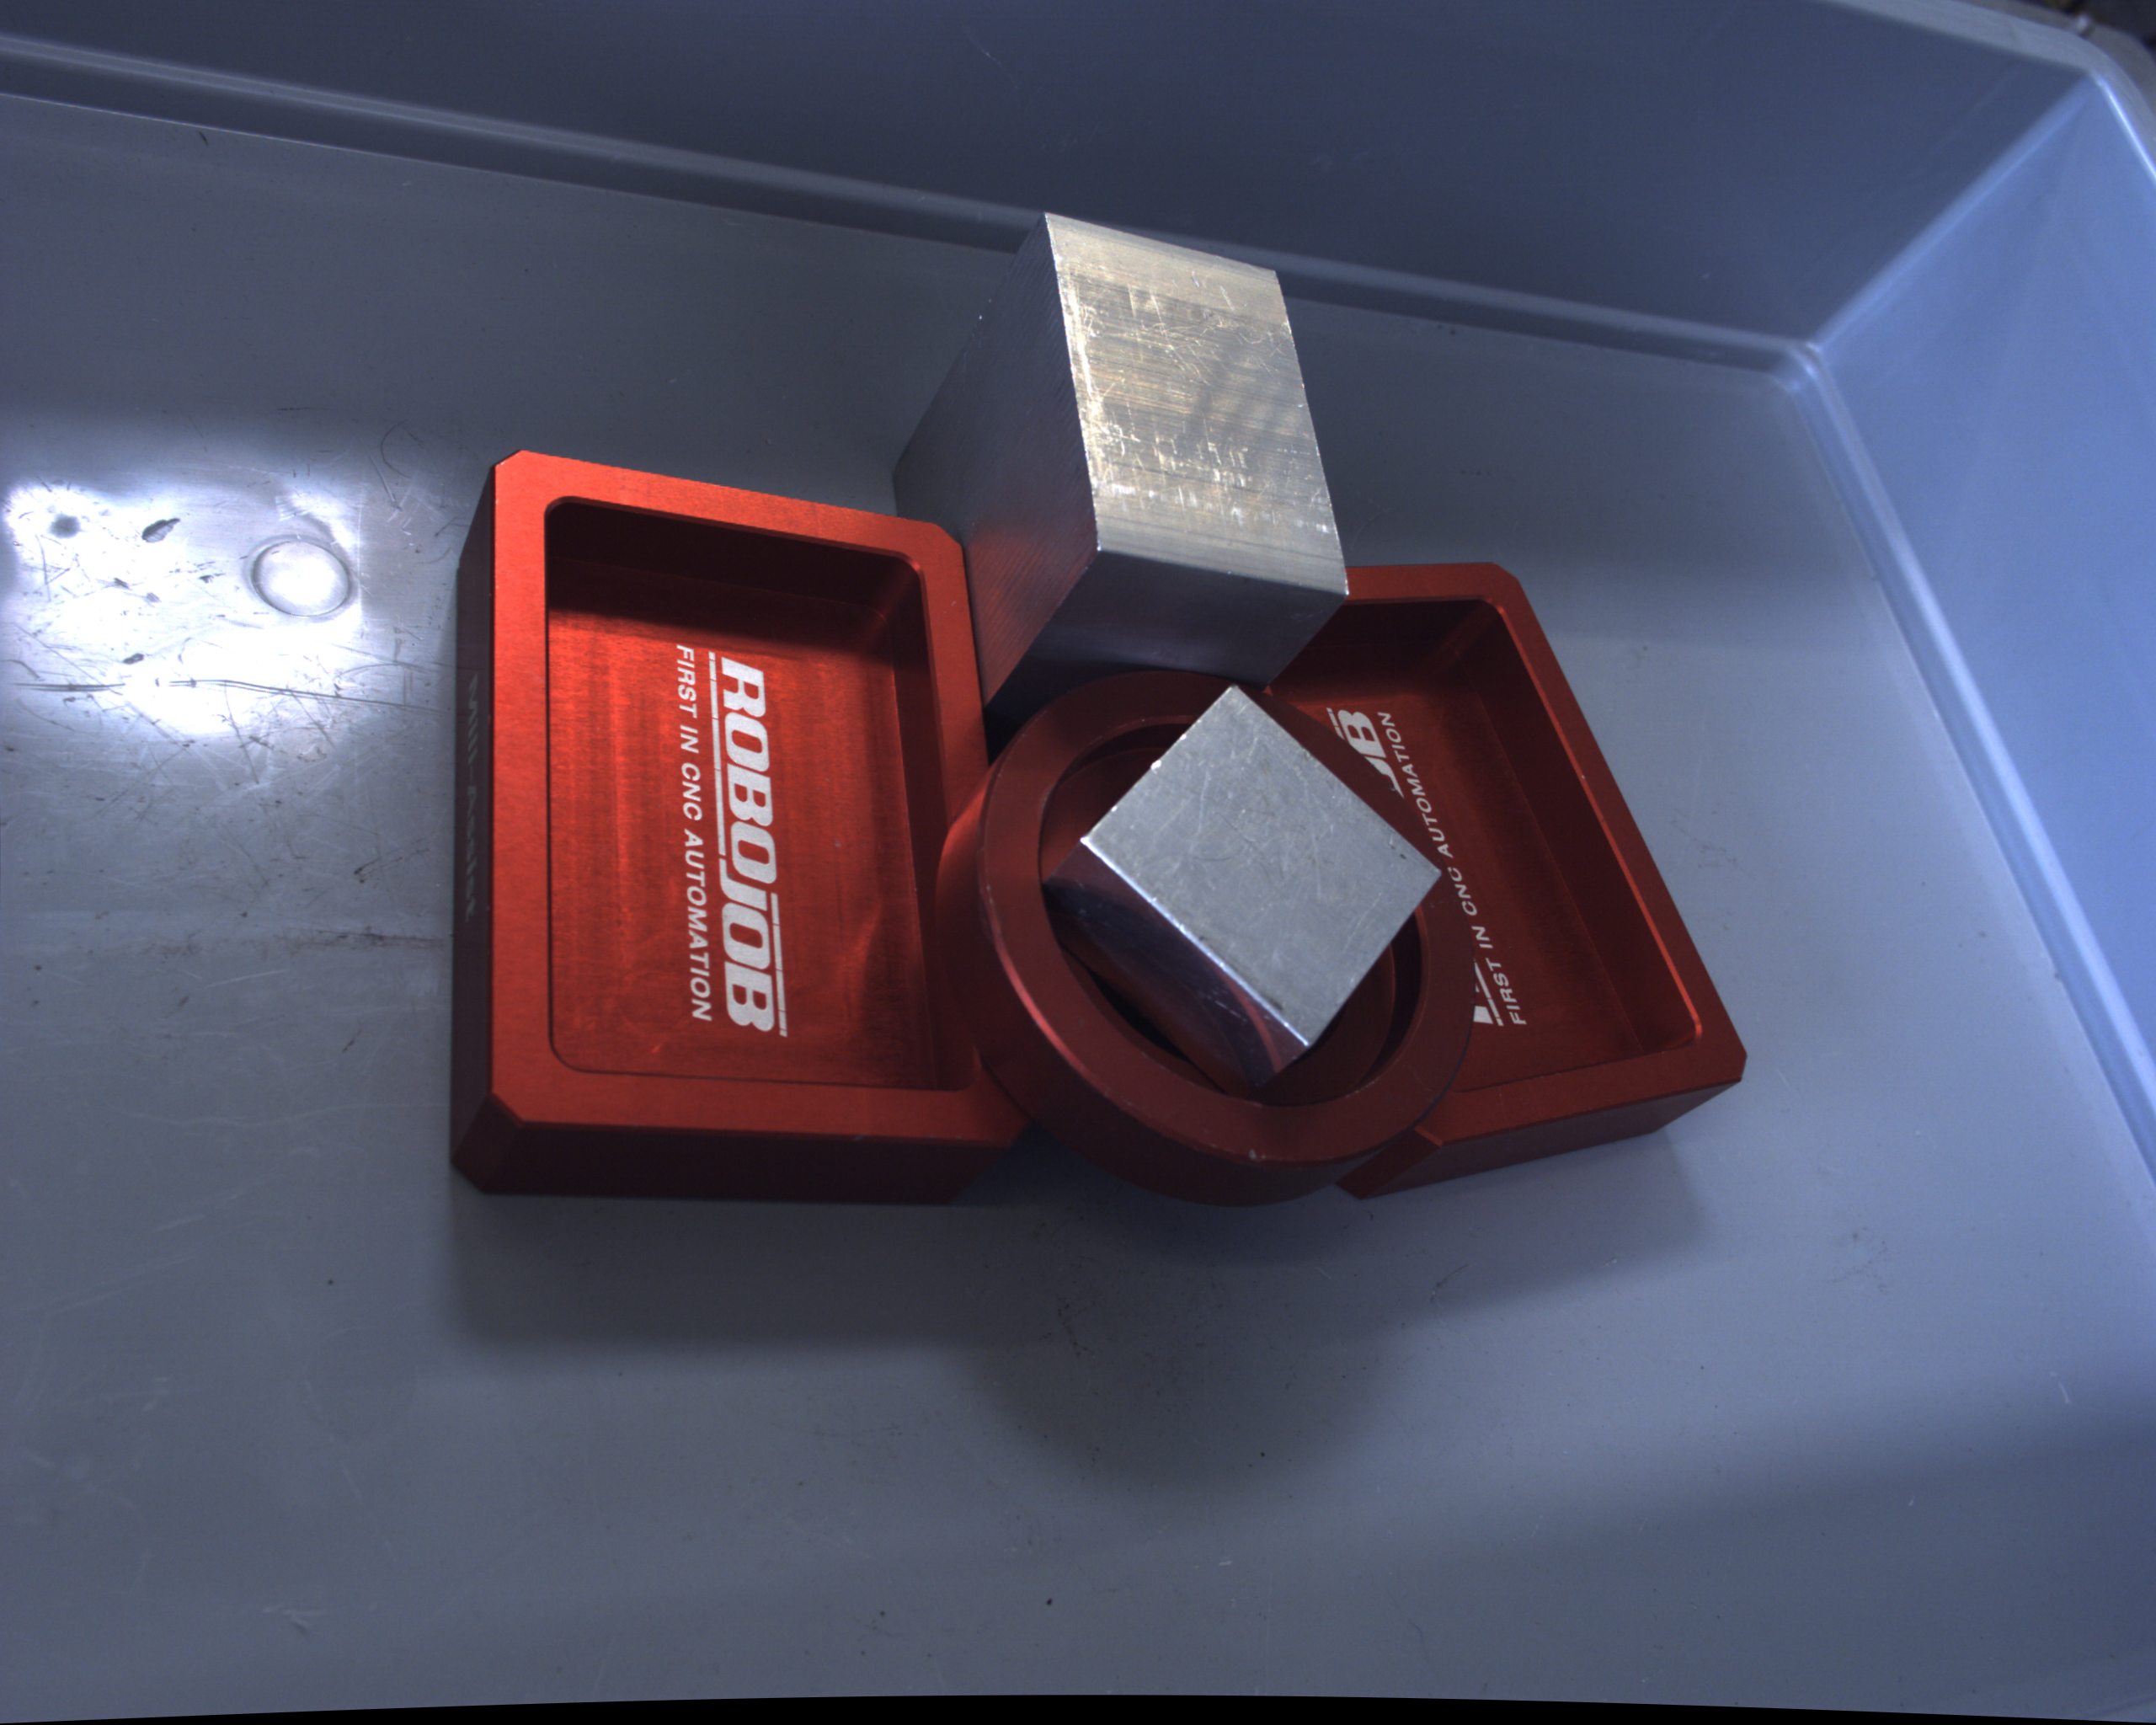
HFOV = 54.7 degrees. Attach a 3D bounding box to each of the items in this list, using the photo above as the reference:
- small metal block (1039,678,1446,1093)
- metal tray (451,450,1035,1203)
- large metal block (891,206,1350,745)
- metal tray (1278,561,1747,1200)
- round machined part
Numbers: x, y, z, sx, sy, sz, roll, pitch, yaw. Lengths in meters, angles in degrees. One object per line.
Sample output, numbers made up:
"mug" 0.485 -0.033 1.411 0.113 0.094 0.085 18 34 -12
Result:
"small metal block" 0.028 0.004 0.362 0.050 0.025 0.050 43 51 1
"metal tray" -0.061 -0.007 0.371 0.091 0.030 0.130 6 59 -25
"large metal block" 0.004 -0.066 0.411 0.050 0.080 0.080 6 59 -25
"metal tray" 0.075 -0.001 0.441 0.091 0.030 0.130 -7 65 -31
"round machined part" 0.020 0.017 0.381 0.099 0.042 0.098 14 56 -21
